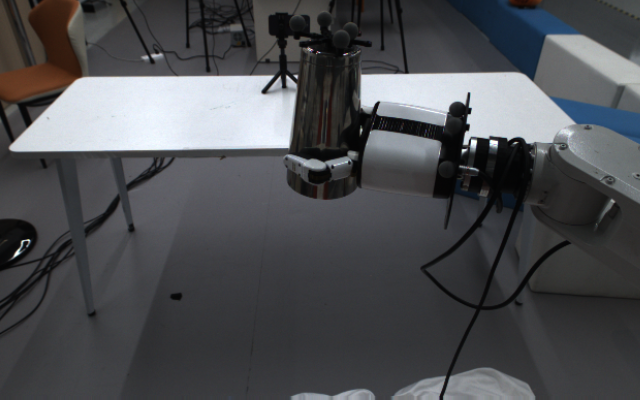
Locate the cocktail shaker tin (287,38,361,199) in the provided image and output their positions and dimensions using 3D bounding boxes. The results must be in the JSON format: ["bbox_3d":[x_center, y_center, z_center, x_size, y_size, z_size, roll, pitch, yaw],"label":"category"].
[{"bbox_3d":[0.009,-0.097,0.573,0.093,0.170,0.093,3,34,-2],"label":"cocktail shaker tin"}]
